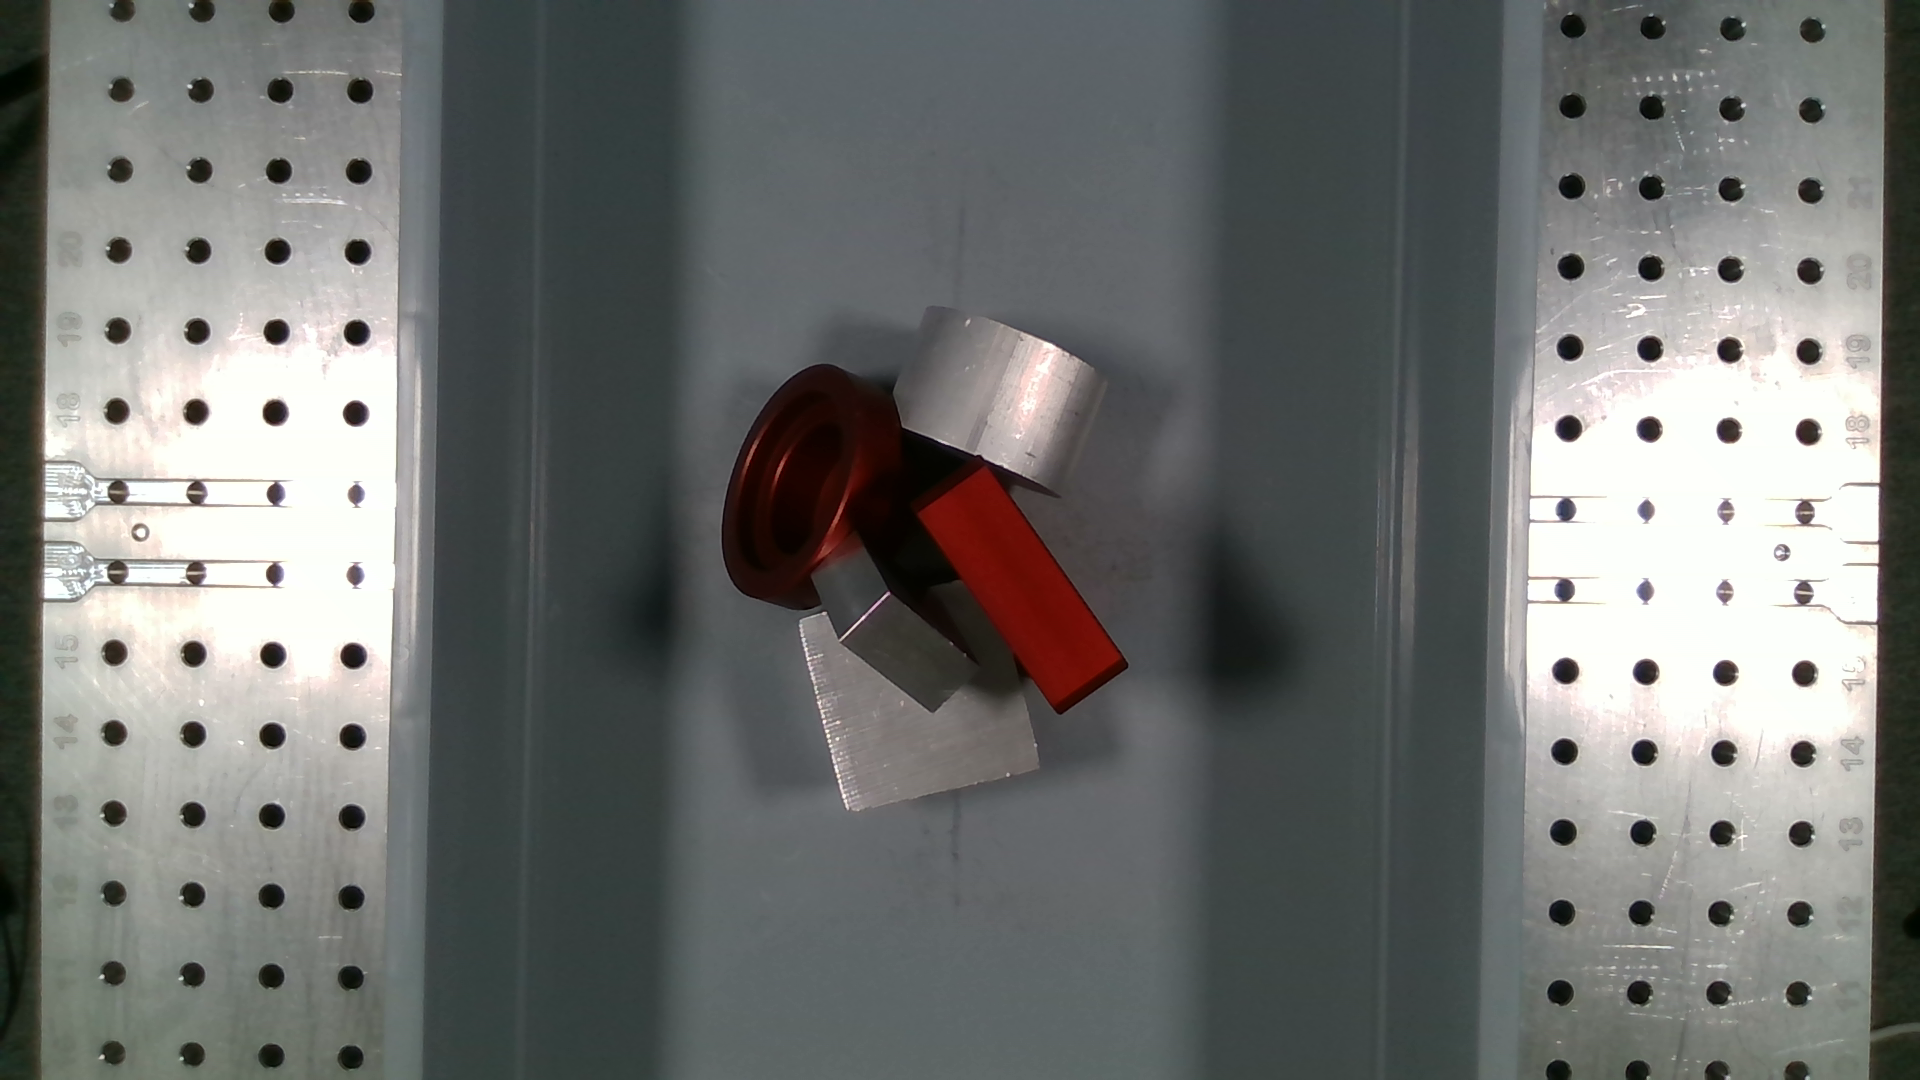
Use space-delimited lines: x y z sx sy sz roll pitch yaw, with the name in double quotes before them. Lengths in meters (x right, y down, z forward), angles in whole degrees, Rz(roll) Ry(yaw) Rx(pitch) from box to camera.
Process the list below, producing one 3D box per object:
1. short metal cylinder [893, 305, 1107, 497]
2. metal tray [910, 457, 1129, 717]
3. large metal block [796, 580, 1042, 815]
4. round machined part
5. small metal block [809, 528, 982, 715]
"short metal cylinder" 0.013 -0.055 0.558 0.080 0.080 0.050 22 90 0
"metal tray" 0.021 0.015 0.533 0.030 0.130 0.090 -35 91 1
"large metal block" -0.014 0.060 0.566 0.080 0.050 0.080 -14 90 5
"round machined part" -0.053 -0.018 0.559 0.042 0.098 0.098 20 90 -36
"small metal block" -0.024 0.029 0.505 0.025 0.050 0.050 -44 122 7
